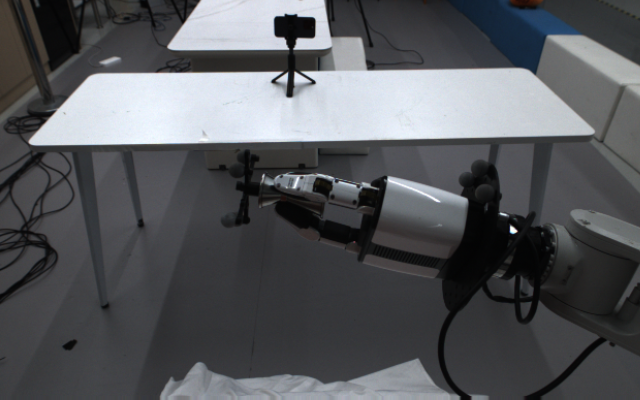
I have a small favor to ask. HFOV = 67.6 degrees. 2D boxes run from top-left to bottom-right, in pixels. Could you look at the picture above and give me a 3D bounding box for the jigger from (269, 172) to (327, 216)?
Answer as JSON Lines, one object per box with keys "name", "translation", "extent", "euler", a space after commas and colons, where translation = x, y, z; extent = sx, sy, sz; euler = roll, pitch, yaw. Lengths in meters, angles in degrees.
{"name": "jigger", "translation": [-0.021, -0.009, 0.517], "extent": [0.071, 0.043, 0.043], "euler": [7, 35, 2]}
